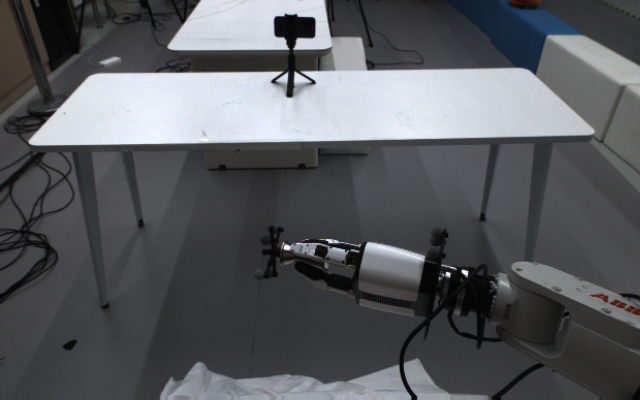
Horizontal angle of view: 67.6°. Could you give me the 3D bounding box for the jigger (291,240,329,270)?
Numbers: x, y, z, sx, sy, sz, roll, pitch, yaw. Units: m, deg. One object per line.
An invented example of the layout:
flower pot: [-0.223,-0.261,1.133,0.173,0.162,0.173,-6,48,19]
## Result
jigger: [-0.015,0.079,0.720,0.071,0.043,0.043,5,34,13]
